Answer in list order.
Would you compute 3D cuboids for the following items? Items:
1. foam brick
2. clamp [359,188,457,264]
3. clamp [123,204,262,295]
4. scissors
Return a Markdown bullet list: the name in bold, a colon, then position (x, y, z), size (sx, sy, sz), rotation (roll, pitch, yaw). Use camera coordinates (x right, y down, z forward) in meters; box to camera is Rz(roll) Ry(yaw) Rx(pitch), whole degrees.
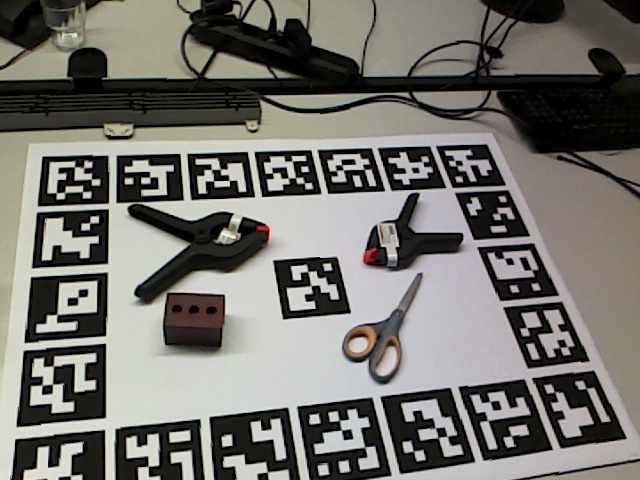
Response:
- **foam brick**: position (-0.179, 0.110, 0.851), size (0.078, 0.051, 0.053), rotation (0, 56, -4)
- **clamp**: position (0.130, -0.010, 1.005), size (0.164, 0.036, 0.122), rotation (-30, 71, -26)
- **clamp**: position (-0.188, 0.001, 0.936), size (0.202, 0.036, 0.166), rotation (-7, 53, -16)
- **scissors**: position (0.096, 0.114, 0.911), size (0.088, 0.016, 0.202), rotation (32, 54, 4)
